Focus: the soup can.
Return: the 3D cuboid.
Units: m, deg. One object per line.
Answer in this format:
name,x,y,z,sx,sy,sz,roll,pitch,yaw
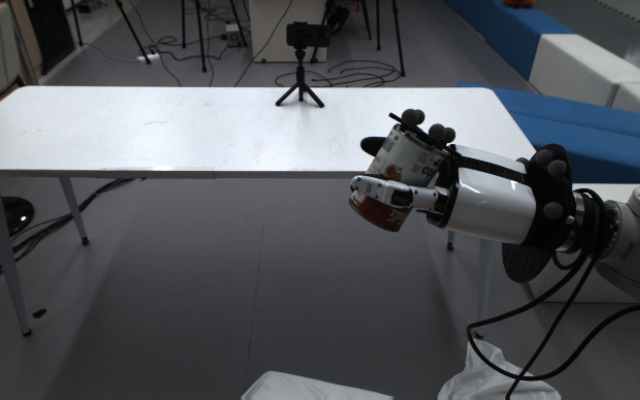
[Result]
soup can,0.087,-0.025,0.539,0.067,0.101,0.067,27,18,-9
